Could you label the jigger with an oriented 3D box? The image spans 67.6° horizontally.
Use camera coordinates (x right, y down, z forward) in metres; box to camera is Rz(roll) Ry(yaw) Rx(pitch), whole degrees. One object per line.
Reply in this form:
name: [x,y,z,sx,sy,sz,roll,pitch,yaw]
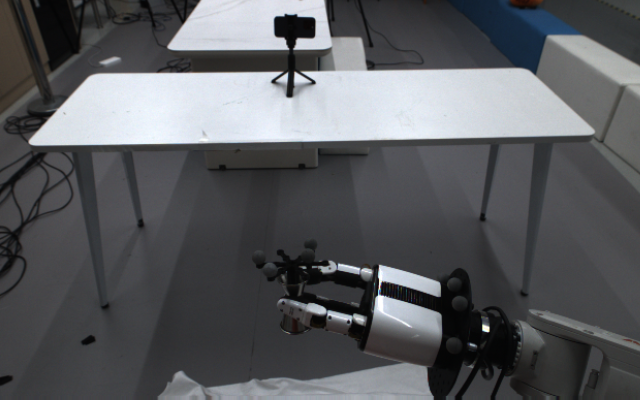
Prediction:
jigger: [-0.030,0.126,0.603,0.043,0.071,0.043,-2,19,1]
